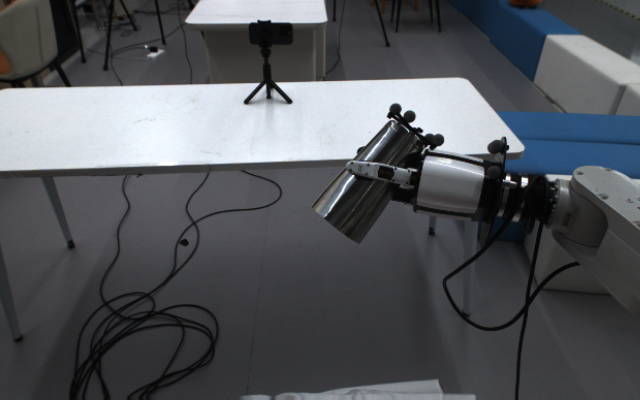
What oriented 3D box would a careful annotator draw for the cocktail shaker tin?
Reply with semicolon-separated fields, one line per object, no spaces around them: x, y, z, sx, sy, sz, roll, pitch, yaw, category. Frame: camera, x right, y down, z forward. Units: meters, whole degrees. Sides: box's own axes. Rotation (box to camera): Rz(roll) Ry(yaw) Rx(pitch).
0.076;-0.034;0.711;0.170;0.093;0.093;-50;46;4;cocktail shaker tin
